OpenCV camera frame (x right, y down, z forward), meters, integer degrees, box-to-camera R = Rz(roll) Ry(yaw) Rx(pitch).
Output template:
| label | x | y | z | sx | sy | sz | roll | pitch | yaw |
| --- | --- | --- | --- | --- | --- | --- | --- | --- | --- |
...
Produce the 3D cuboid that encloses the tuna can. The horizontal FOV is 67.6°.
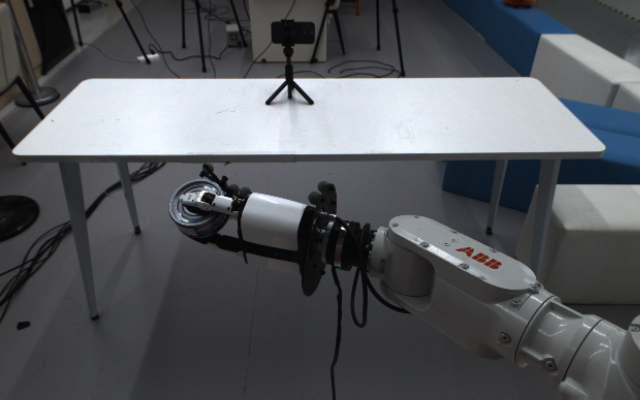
| label | x | y | z | sx | sy | sz | roll | pitch | yaw |
| --- | --- | --- | --- | --- | --- | --- | --- | --- | --- |
| tuna can | -0.178 | 0.012 | 0.718 | 0.085 | 0.034 | 0.085 | -3 | 58 | 5 |
